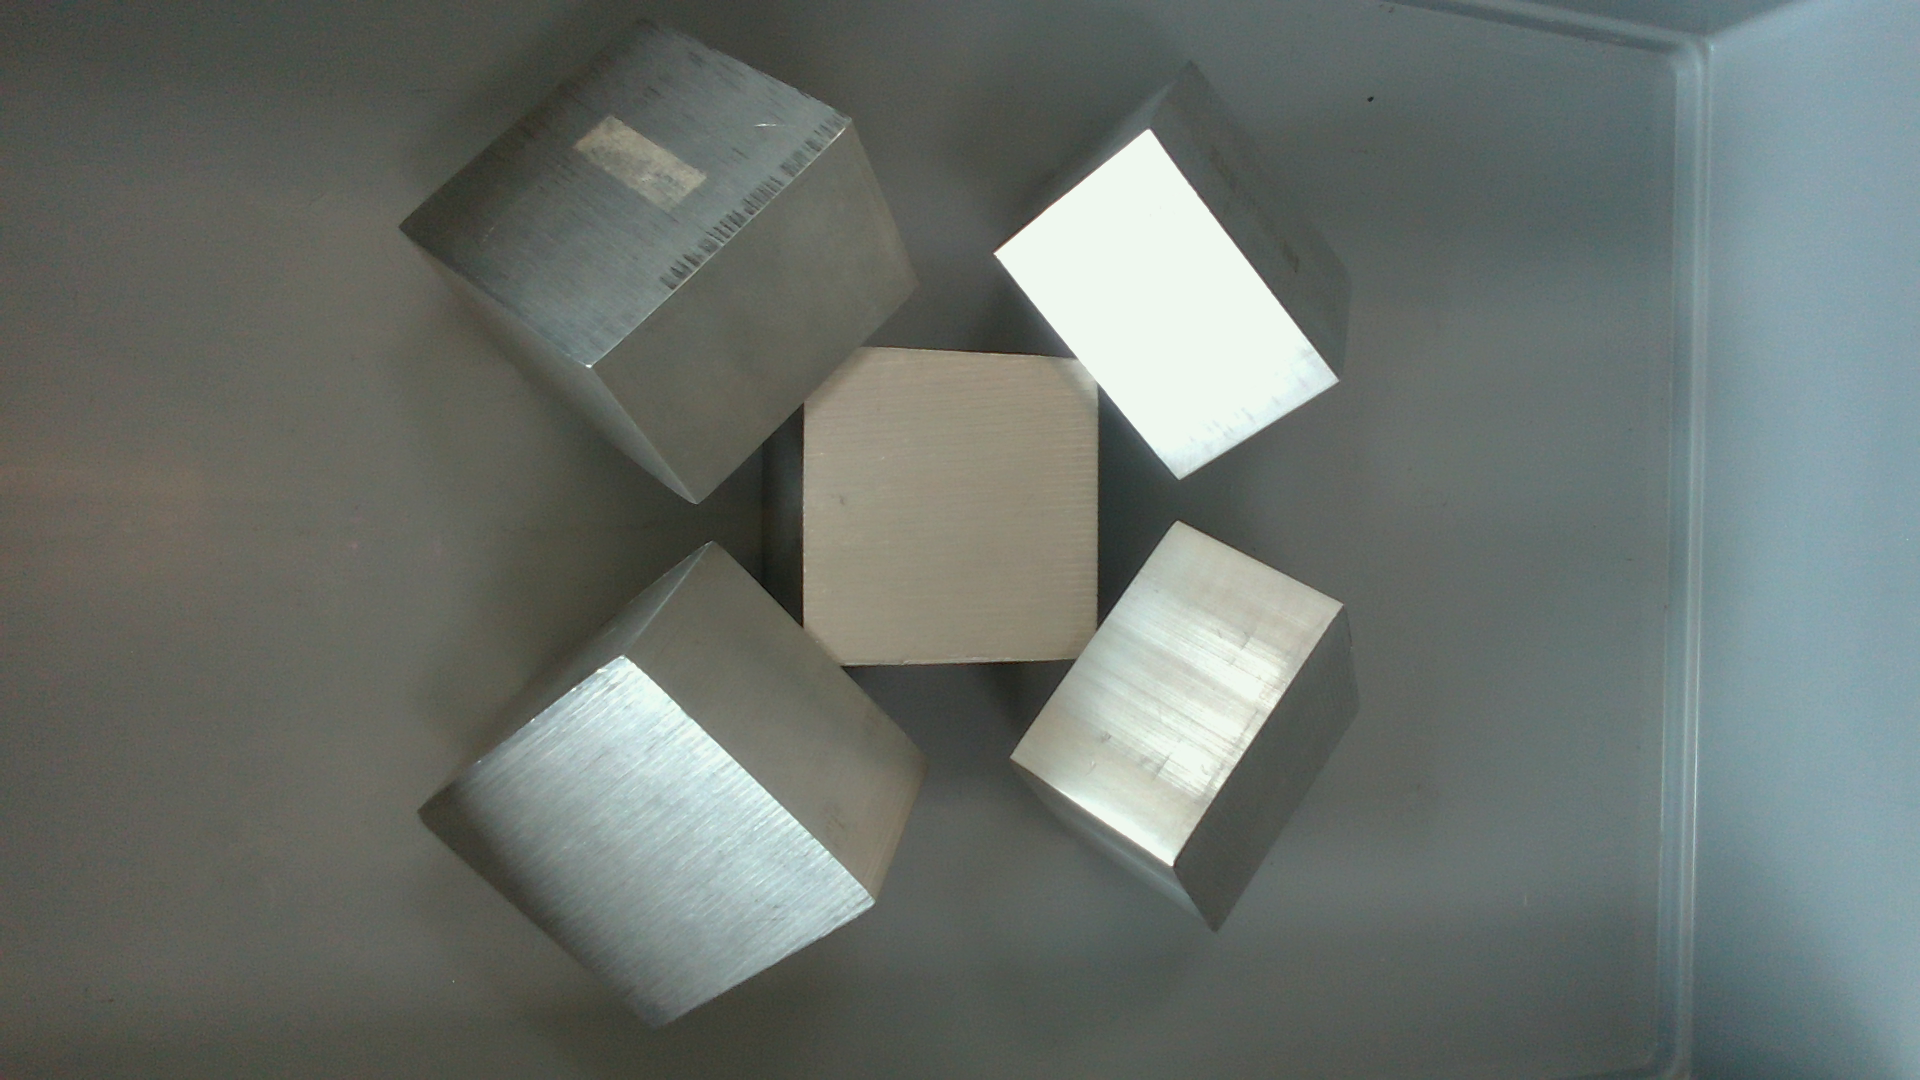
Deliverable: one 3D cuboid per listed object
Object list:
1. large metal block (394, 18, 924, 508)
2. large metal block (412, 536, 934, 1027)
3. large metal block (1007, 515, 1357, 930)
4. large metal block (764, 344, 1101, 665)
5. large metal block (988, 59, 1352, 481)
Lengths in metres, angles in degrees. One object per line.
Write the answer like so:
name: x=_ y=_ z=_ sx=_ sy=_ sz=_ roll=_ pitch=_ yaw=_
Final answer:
large metal block: x=-0.070 y=-0.068 z=0.329 sx=0.080 sy=0.080 sz=0.050 roll=-48 pitch=148 yaw=-14
large metal block: x=-0.067 y=0.060 z=0.333 sx=0.080 sy=0.050 sz=0.080 roll=-34 pitch=106 yaw=29
large metal block: x=0.066 y=0.053 z=0.380 sx=0.080 sy=0.050 sz=0.080 roll=-54 pitch=151 yaw=-13
large metal block: x=-0.009 y=-0.009 z=0.375 sx=0.080 sy=0.050 sz=0.080 roll=1 pitch=90 yaw=-20
large metal block: x=0.062 y=-0.077 z=0.379 sx=0.080 sy=0.050 sz=0.080 roll=48 pitch=32 yaw=-13
